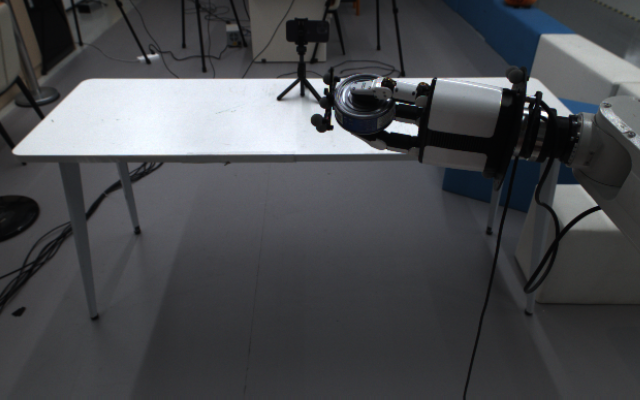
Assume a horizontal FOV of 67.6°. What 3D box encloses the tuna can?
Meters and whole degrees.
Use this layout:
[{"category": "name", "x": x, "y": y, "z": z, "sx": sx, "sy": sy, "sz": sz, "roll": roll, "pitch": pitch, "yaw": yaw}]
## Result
[{"category": "tuna can", "x": 0.065, "y": -0.130, "z": 0.661, "sx": 0.085, "sy": 0.034, "sz": 0.085, "roll": -2, "pitch": 58, "yaw": 3}]
